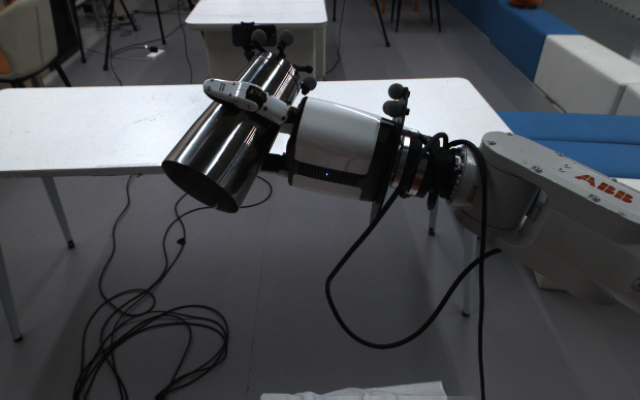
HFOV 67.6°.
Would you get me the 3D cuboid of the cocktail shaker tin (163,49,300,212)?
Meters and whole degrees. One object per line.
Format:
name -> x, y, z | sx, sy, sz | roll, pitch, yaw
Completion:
cocktail shaker tin -> -0.085, -0.084, 0.535 | 0.093, 0.093, 0.170 | 18, 66, 21
